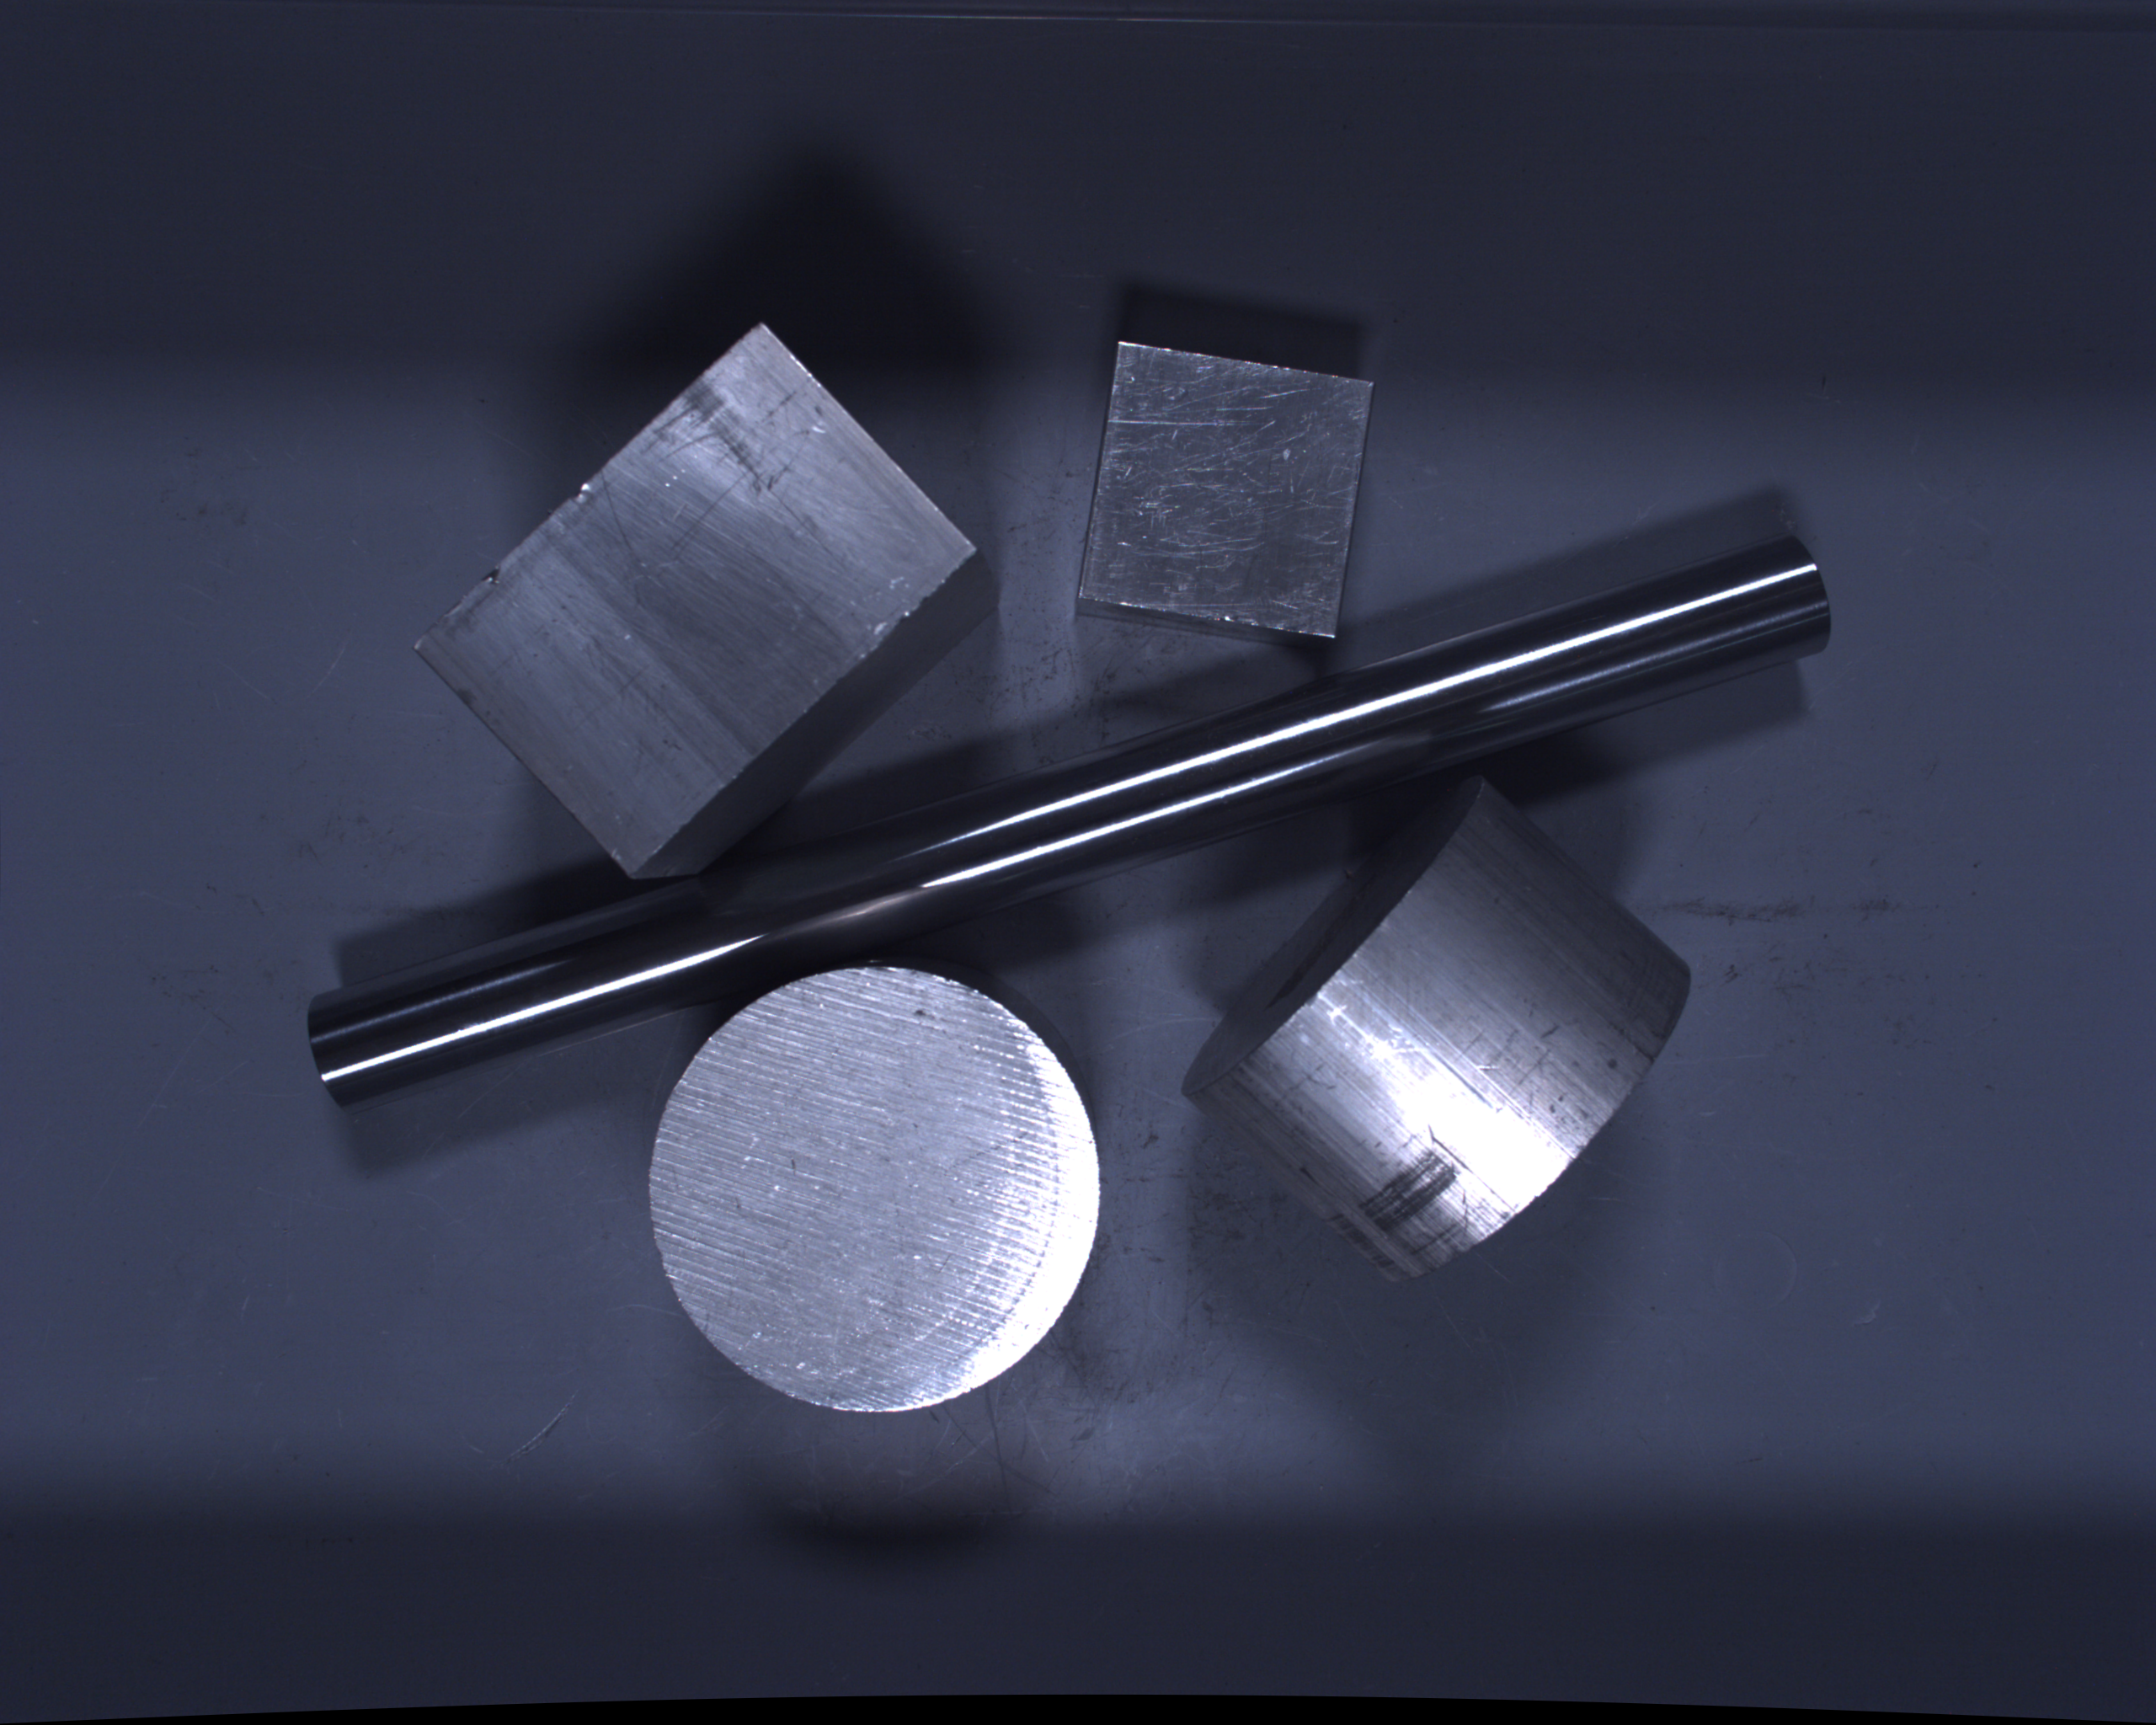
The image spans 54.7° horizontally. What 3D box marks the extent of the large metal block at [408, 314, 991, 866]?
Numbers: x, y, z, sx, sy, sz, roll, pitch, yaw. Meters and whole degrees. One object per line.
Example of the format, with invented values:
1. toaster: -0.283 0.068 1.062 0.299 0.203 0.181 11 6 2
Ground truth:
1. large metal block: -0.063 -0.045 0.382 0.080 0.080 0.050 -43 91 0

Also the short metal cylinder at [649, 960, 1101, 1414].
1. short metal cylinder: -0.036 0.058 0.396 0.081 0.050 0.079 0 90 -1

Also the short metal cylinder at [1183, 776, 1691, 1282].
1. short metal cylinder: 0.065 0.030 0.384 0.050 0.080 0.080 43 90 -1

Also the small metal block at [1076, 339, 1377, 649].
1. small metal block: 0.028 -0.072 0.410 0.050 0.025 0.050 9 90 -1

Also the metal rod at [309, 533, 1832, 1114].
1. metal rod: -0.001 -0.008 0.410 0.302 0.025 0.025 -17 90 -1
